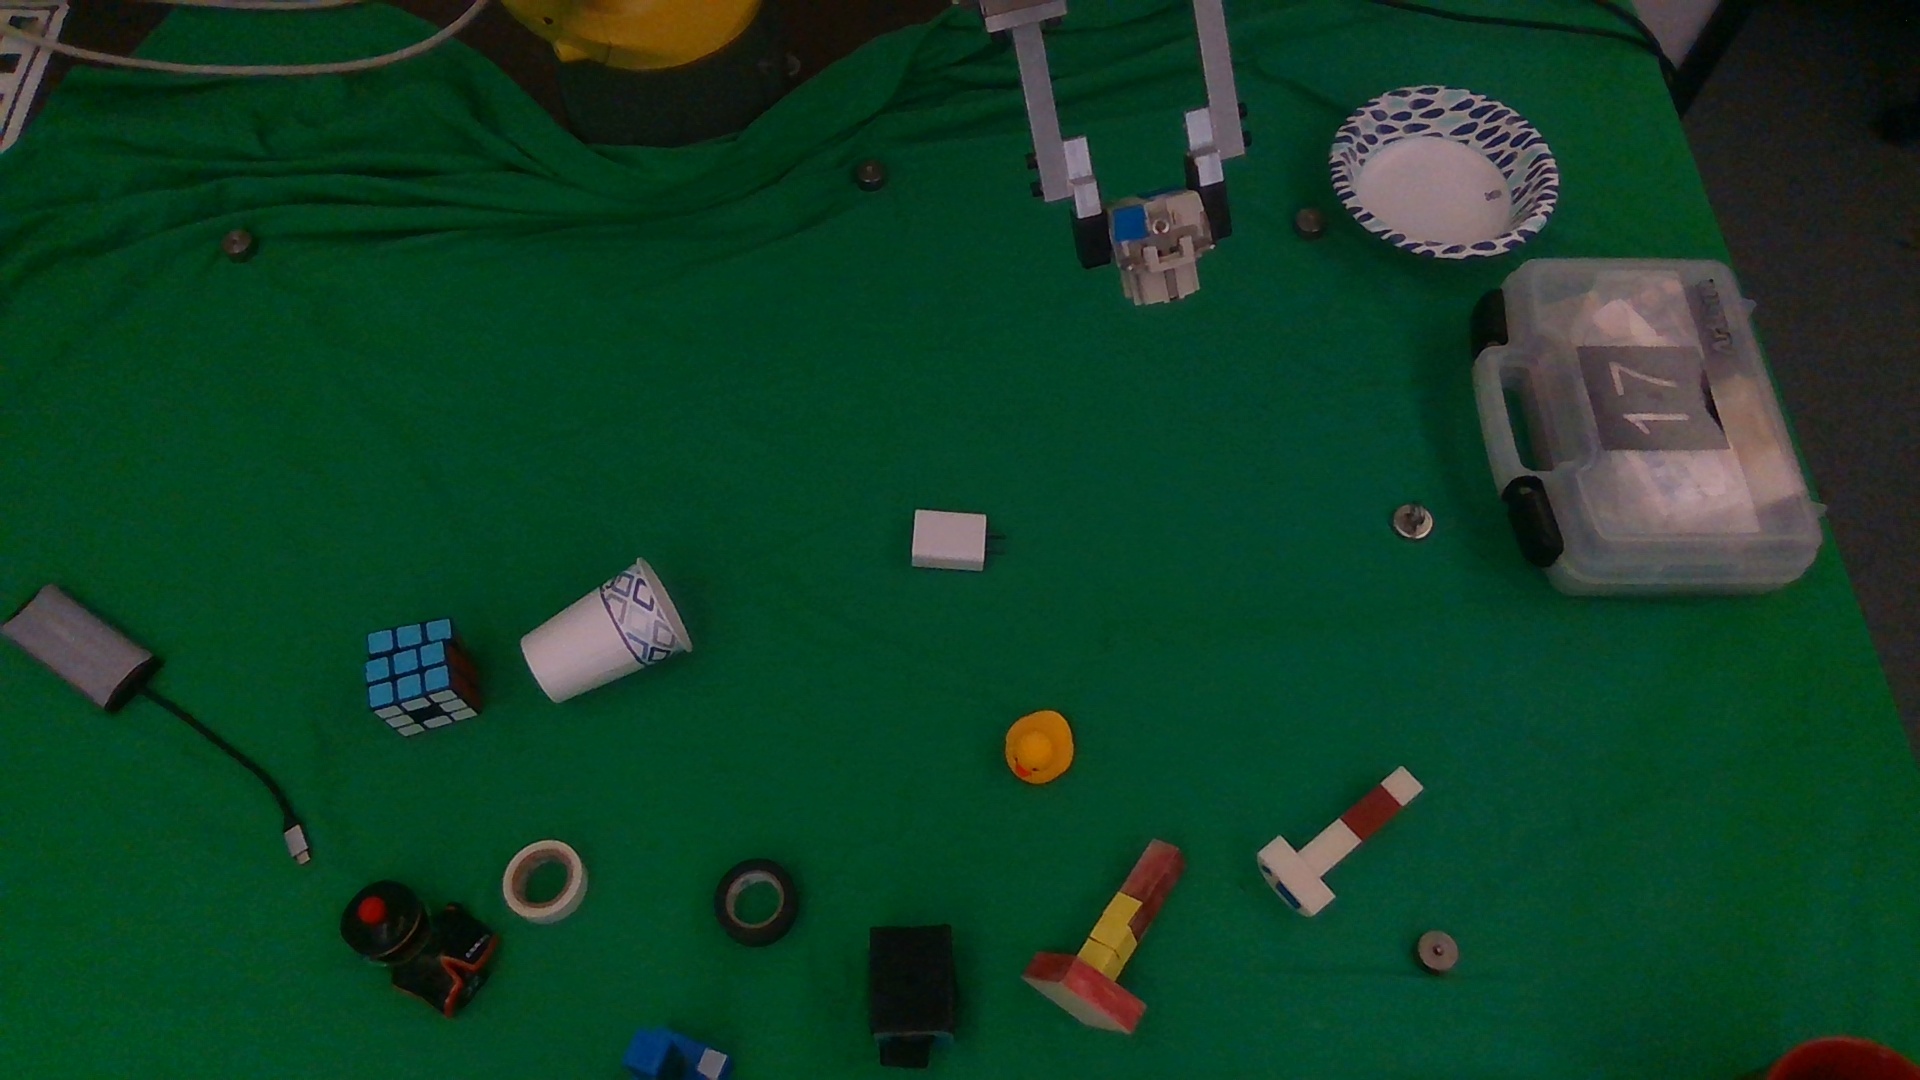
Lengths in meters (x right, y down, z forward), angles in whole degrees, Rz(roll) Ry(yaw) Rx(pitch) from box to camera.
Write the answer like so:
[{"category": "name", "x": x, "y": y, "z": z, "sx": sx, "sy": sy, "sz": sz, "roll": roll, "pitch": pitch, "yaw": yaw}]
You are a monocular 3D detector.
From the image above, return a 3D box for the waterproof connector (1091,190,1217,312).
[{"category": "waterproof connector", "x": 0.070, "y": -0.105, "z": 0.504, "sx": 0.035, "sy": 0.065, "sz": 0.037, "roll": -17, "pitch": 105, "yaw": 1}]

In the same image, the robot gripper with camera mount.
[{"category": "robot gripper with camera mount", "x": 0.059, "y": -0.150, "z": 0.402, "sx": 0.119, "sy": 0.158, "sz": 0.193, "roll": -12, "pitch": 18, "yaw": 1}]
